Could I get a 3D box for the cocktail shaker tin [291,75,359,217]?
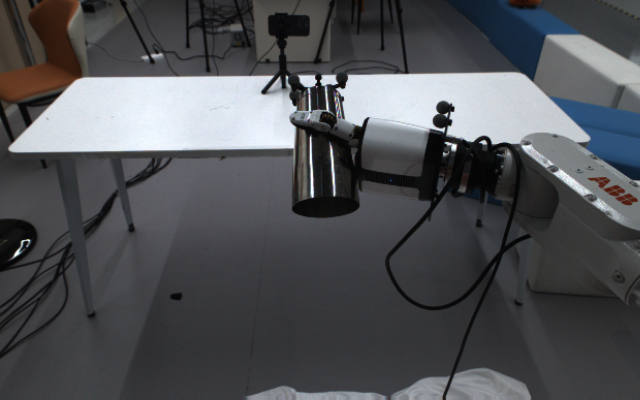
[{"bbox_3d":[0.002,-0.069,0.675,0.093,0.093,0.170,-2,70,-5],"label":"cocktail shaker tin"}]
